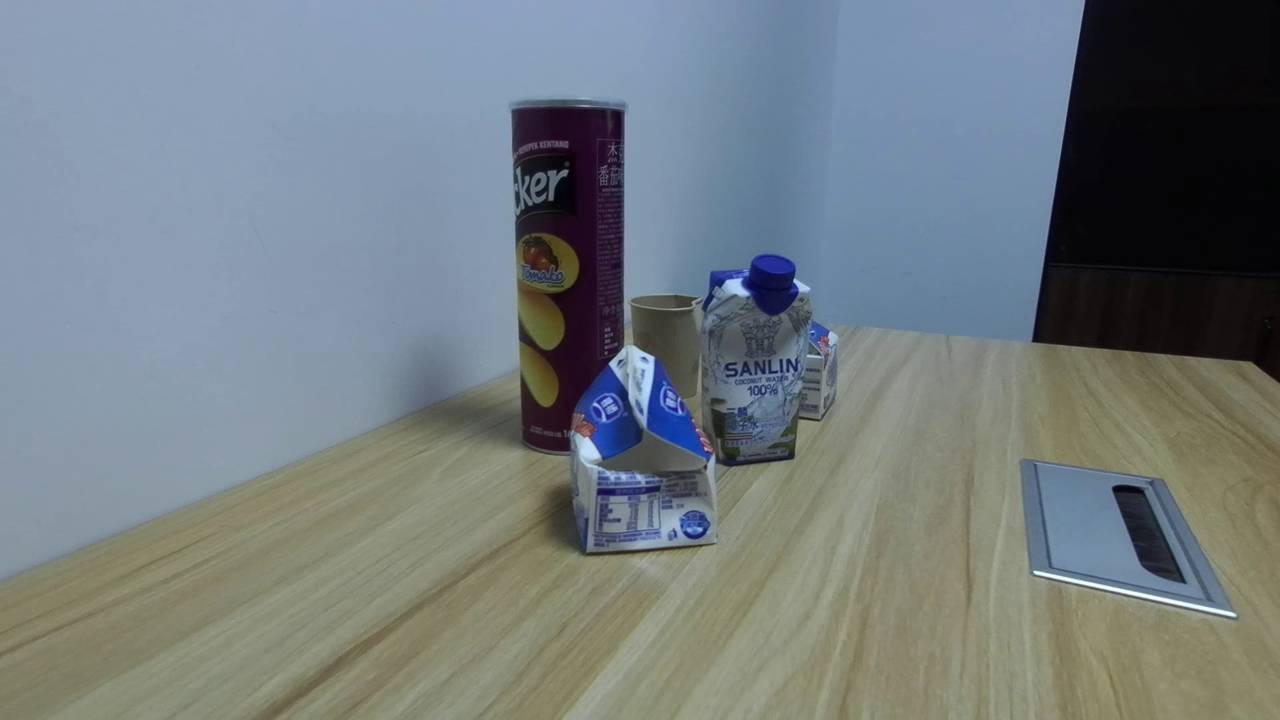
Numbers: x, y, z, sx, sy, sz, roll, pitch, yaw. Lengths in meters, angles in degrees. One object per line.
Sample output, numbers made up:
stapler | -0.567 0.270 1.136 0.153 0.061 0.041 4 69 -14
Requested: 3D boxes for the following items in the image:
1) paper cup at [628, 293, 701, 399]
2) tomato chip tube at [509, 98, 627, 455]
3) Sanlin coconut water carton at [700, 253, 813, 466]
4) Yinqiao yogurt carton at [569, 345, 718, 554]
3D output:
paper cup | 0.024 -0.012 0.624 0.069 0.081 0.073 -15 19 -42
tomato chip tube | -0.048 -0.055 0.499 0.078 0.233 0.078 0 14 0
Sanlin coconut water carton | 0.077 -0.002 0.480 0.078 0.142 0.057 -4 21 -17
Yinqiao yogurt carton | 0.000 0.044 0.393 0.077 0.093 0.083 -2 16 -10
